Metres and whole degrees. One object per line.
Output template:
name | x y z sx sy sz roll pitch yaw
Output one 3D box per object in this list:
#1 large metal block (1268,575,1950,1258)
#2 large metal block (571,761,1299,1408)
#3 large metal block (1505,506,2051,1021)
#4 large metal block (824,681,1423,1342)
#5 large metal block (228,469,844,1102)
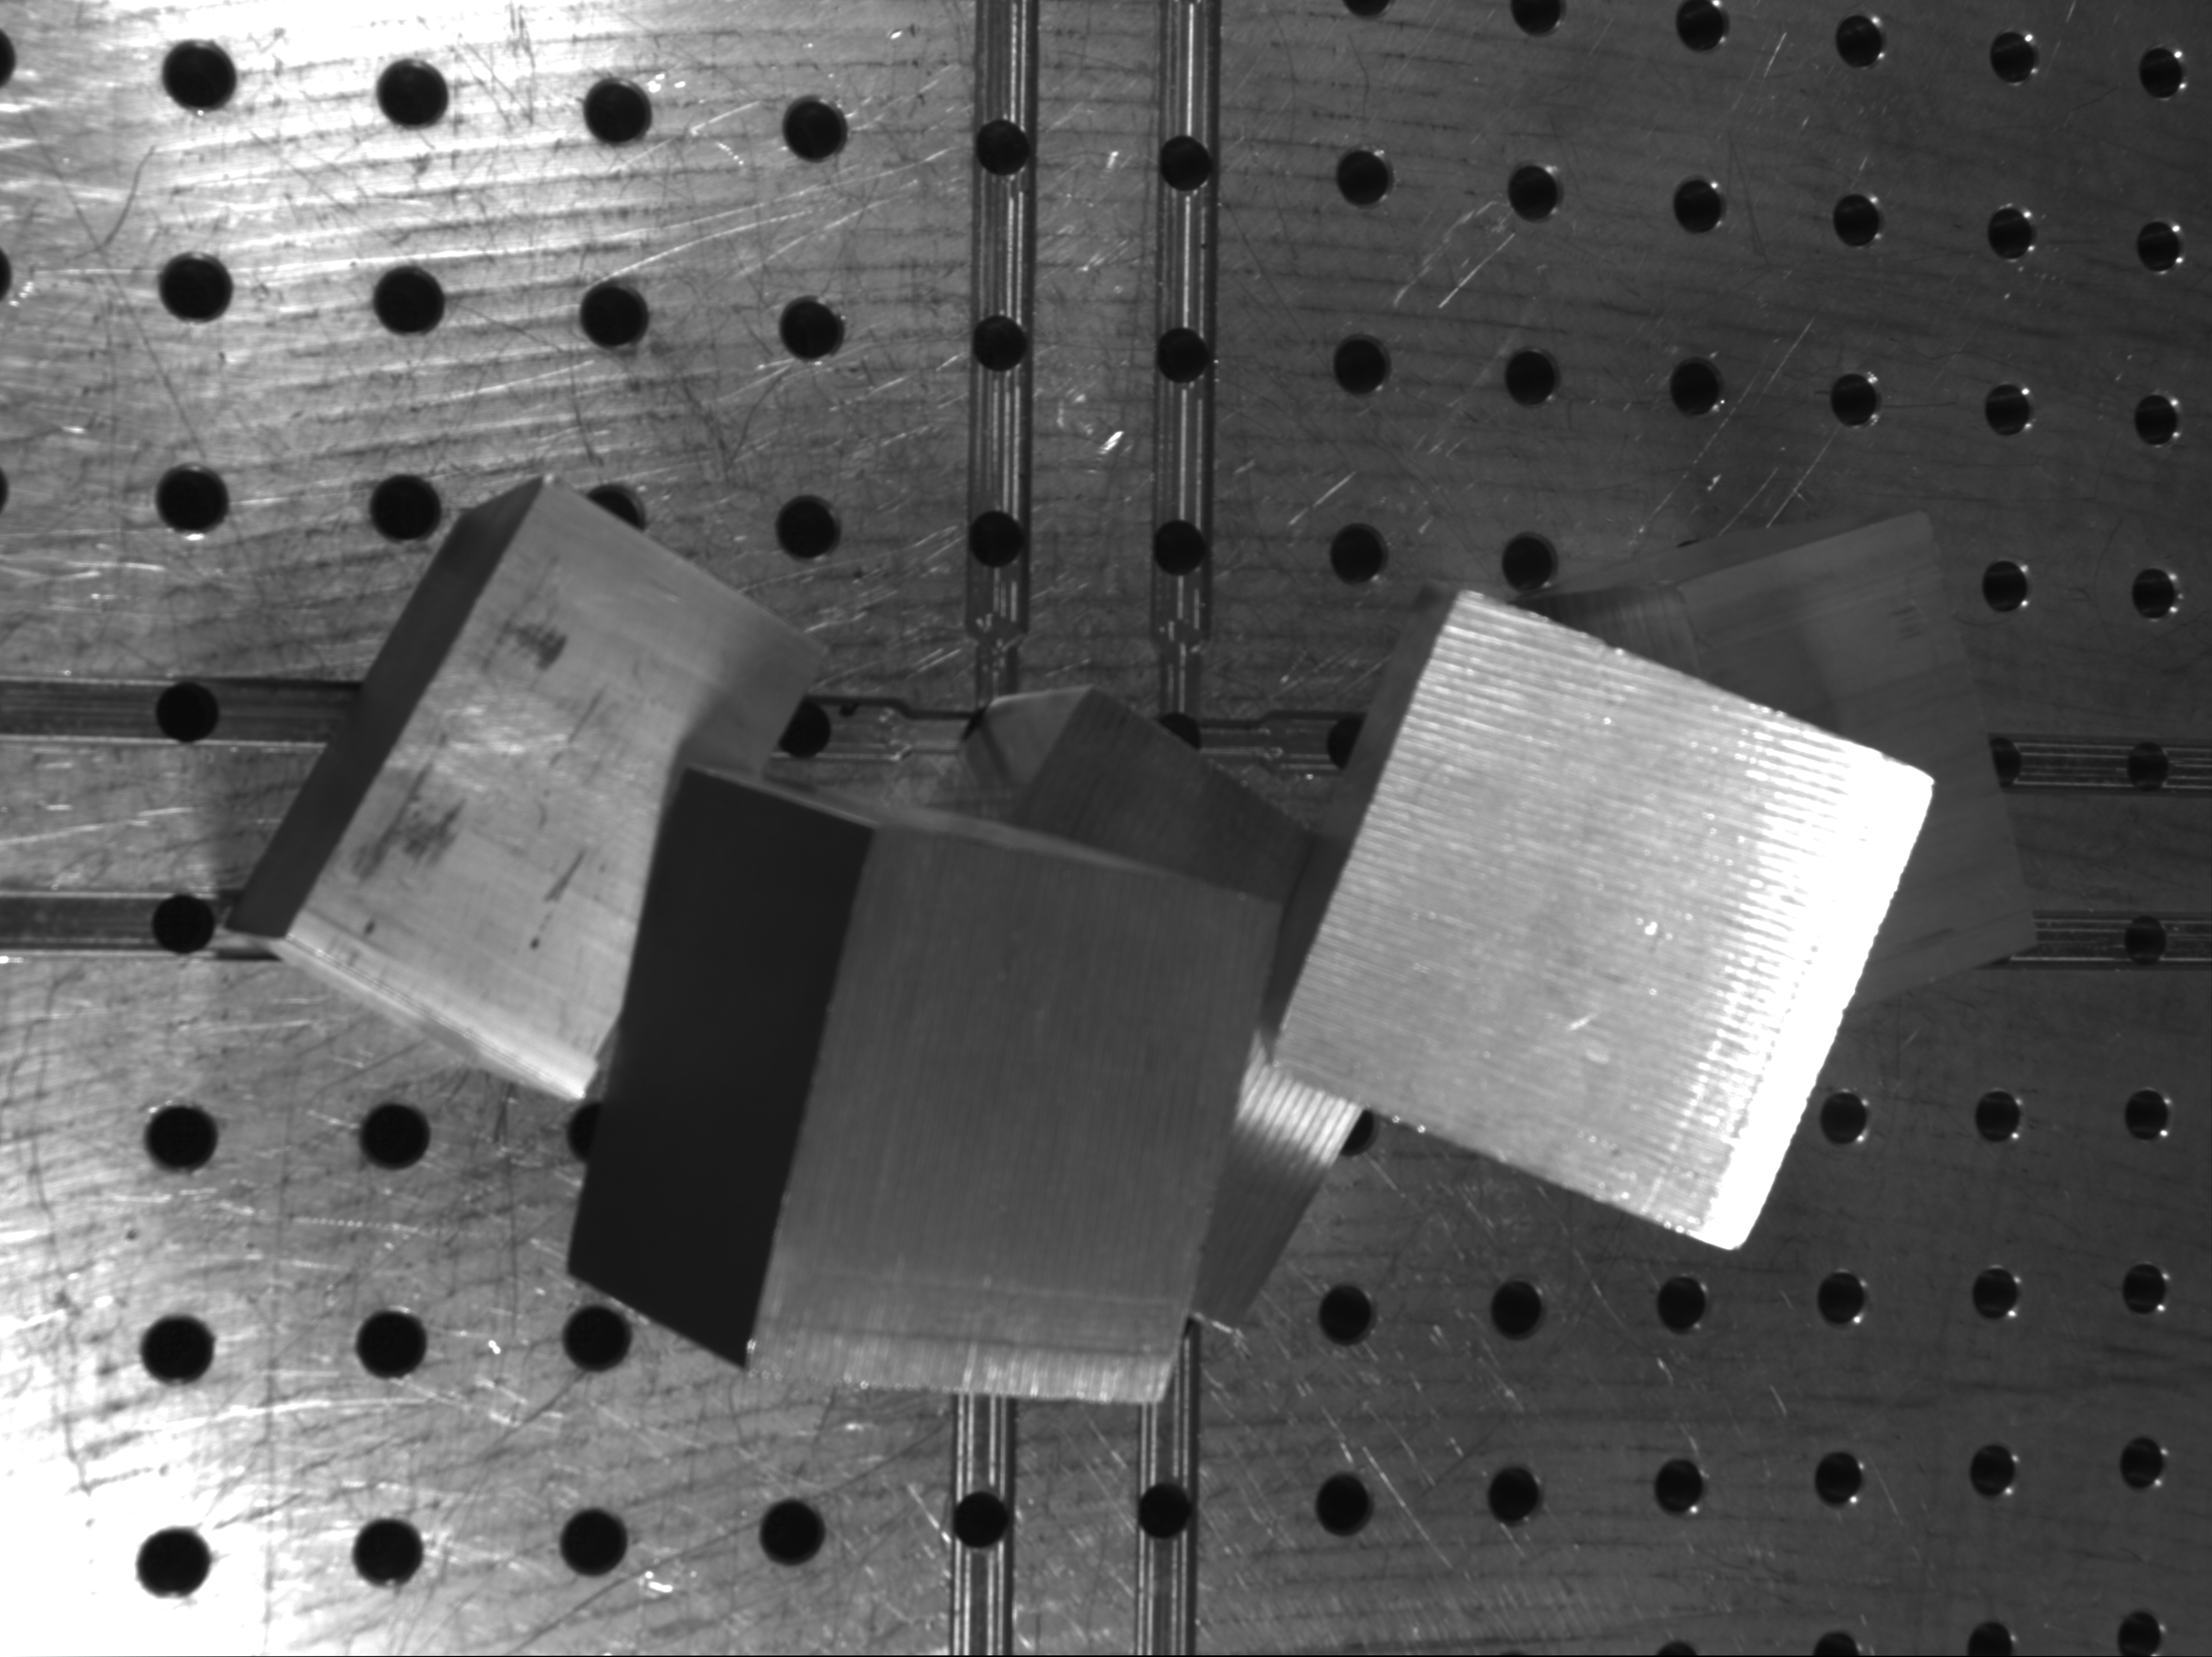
large metal block | 0.077 0.012 0.587 0.080 0.050 0.080 22 95 -3
large metal block | -0.025 0.039 0.554 0.080 0.050 0.080 12 93 -40
large metal block | 0.117 -0.010 0.659 0.050 0.080 0.080 -17 96 -19
large metal block | 0.003 0.031 0.633 0.080 0.050 0.080 34 79 -17
large metal block | -0.093 -0.006 0.583 0.050 0.080 0.080 31 80 -17
